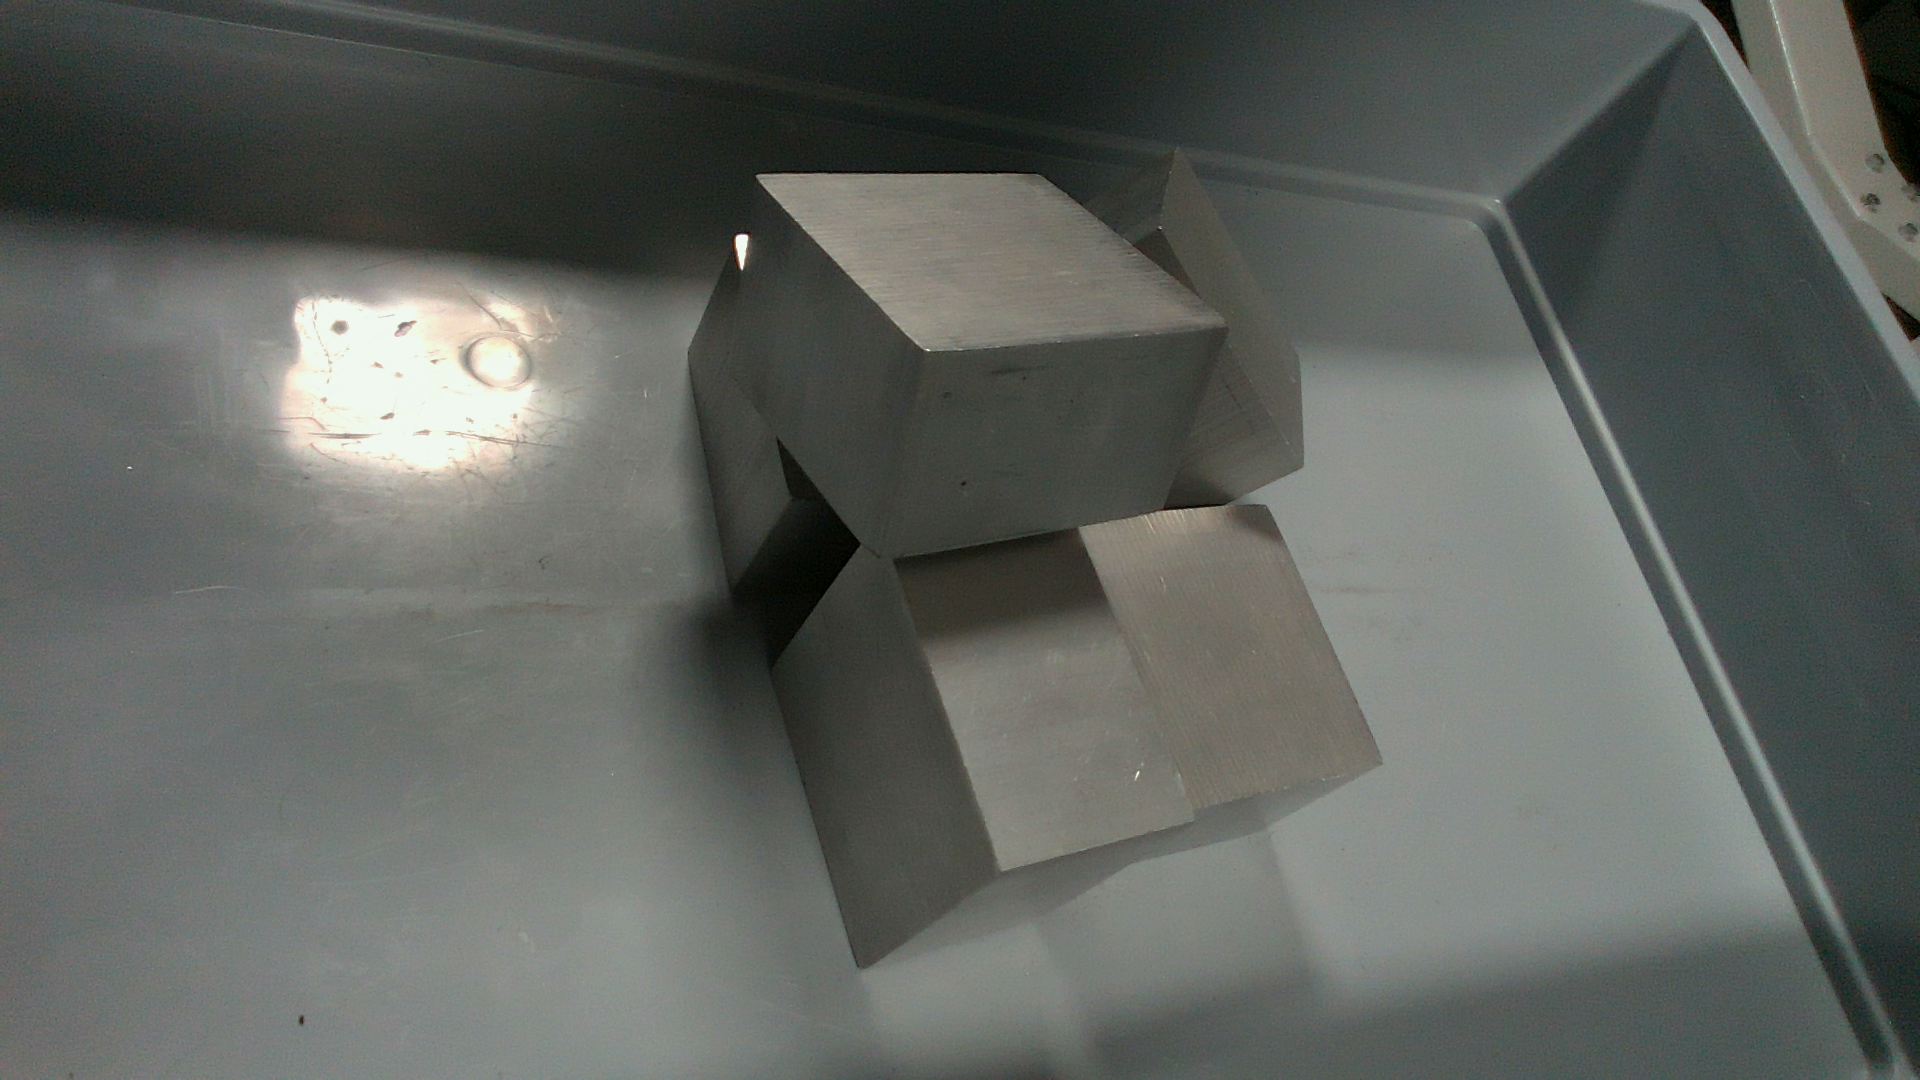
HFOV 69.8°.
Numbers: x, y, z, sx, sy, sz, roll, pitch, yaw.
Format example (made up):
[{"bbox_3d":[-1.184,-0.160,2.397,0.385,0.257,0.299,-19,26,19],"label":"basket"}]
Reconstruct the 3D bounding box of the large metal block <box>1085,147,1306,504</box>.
[{"bbox_3d":[0.060,-0.060,0.408,0.080,0.050,0.080,54,26,-19],"label":"large metal block"}]

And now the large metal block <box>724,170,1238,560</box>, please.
[{"bbox_3d":[0.001,-0.045,0.317,0.080,0.050,0.080,-10,41,-32],"label":"large metal block"}]

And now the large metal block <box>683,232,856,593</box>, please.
[{"bbox_3d":[-0.025,-0.034,0.380,0.080,0.050,0.080,-1,62,-29],"label":"large metal block"}]

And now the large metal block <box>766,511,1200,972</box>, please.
[{"bbox_3d":[0.000,0.047,0.324,0.050,0.080,0.080,-7,65,-31],"label":"large metal block"}]

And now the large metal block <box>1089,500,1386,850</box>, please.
[{"bbox_3d":[0.055,0.039,0.375,0.080,0.050,0.080,-6,64,-31],"label":"large metal block"}]
